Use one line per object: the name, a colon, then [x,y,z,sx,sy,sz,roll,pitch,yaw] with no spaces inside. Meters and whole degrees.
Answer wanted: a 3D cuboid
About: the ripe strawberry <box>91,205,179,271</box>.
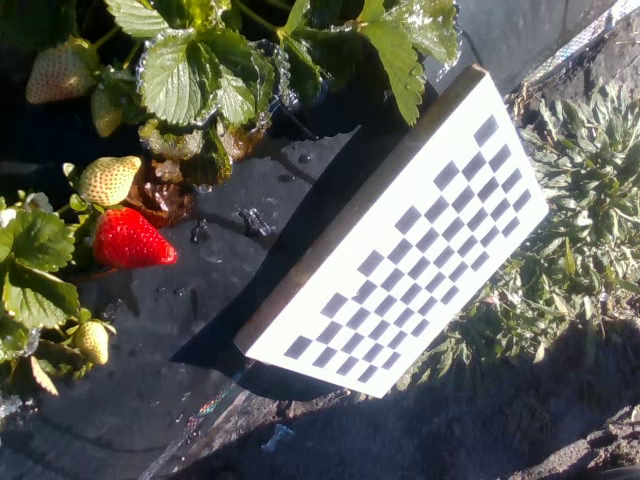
ripe strawberry: [-0.105,0.003,0.349,0.053,0.040,0.042,22,30,16]
